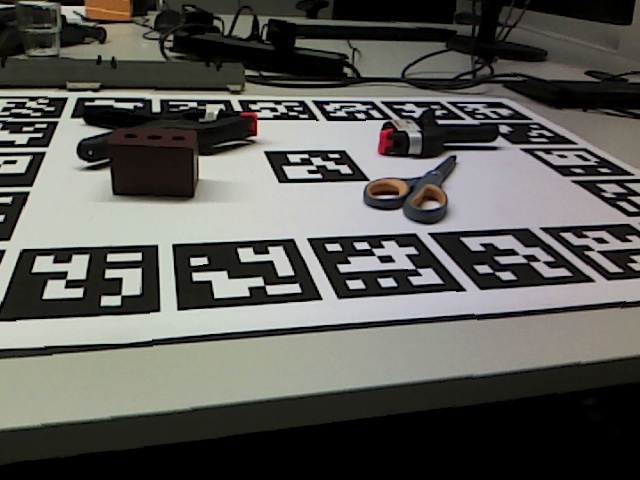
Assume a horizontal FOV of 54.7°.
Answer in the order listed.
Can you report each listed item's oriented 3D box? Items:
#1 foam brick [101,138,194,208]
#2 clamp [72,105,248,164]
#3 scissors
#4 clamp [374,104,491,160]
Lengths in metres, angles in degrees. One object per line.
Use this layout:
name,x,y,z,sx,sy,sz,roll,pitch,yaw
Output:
foam brick,-0.167,-0.066,0.609,0.078,0.051,0.053,-3,31,-5
clamp,-0.185,-0.129,0.731,0.202,0.036,0.166,-4,27,-18
scissors,0.107,-0.060,0.669,0.088,0.016,0.202,23,31,16
clamp,0.131,-0.137,0.806,0.164,0.036,0.122,-21,45,-38
